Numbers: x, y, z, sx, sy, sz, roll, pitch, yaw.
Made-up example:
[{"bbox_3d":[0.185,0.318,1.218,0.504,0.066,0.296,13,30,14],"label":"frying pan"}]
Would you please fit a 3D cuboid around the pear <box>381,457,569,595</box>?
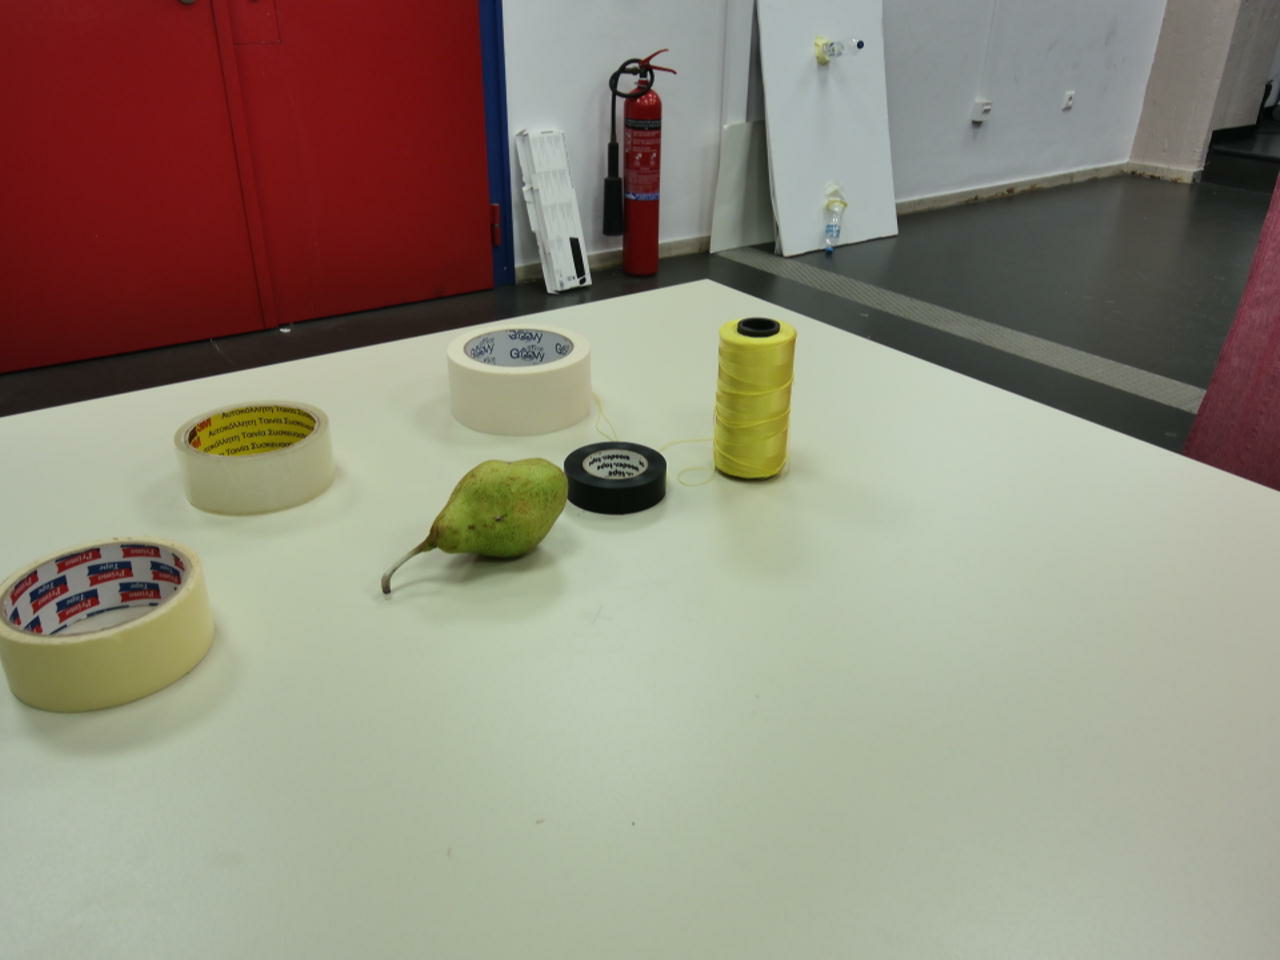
[{"bbox_3d":[-0.094,0.019,0.558,0.111,0.056,0.056,-10,27,-19],"label":"pear"}]
